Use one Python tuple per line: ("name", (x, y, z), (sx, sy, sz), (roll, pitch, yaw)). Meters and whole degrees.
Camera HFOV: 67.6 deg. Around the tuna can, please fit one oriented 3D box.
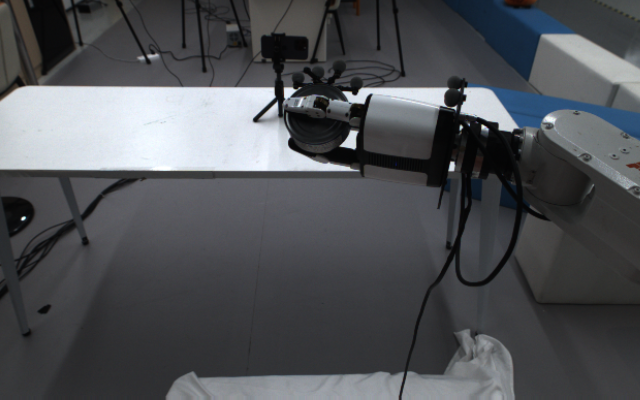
("tuna can", (-0.002, -0.106, 0.626), (0.085, 0.034, 0.085), (-3, 69, 7))
